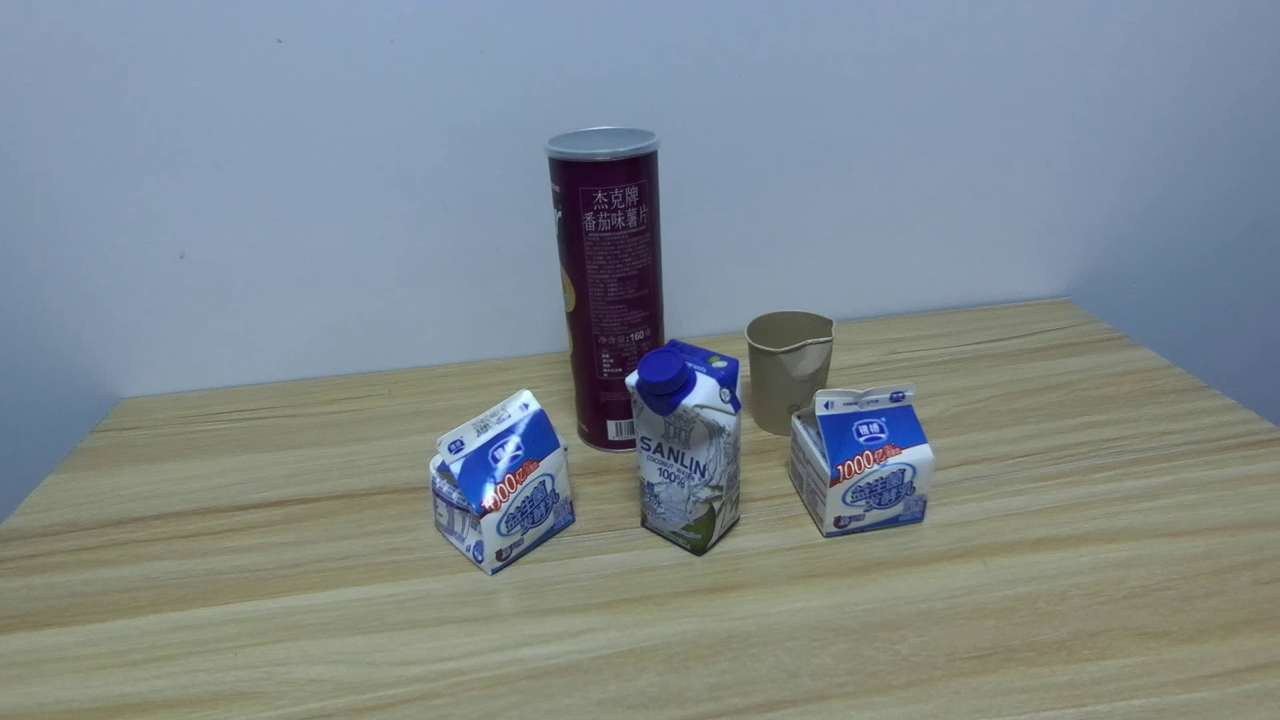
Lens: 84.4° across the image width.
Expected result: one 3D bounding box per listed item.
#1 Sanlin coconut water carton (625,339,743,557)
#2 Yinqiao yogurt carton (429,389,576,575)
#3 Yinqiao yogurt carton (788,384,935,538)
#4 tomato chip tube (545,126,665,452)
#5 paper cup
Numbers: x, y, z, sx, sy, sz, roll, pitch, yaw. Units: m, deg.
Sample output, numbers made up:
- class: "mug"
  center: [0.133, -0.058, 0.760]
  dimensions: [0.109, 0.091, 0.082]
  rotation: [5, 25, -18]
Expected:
- class: "Sanlin coconut water carton"
  center: [0.028, 0.051, 0.446]
  dimensions: [0.077, 0.142, 0.058]
  rotation: [19, 41, 35]
- class: "Yinqiao yogurt carton"
  center: [-0.094, 0.072, 0.473]
  dimensions: [0.083, 0.093, 0.077]
  rotation: [-27, 36, -36]
- class: "Yinqiao yogurt carton"
  center: [0.148, 0.057, 0.474]
  dimensions: [0.076, 0.092, 0.073]
  rotation: [-6, 28, -8]
- class: "tomato chip tube"
  center: [-0.018, -0.046, 0.532]
  dimensions: [0.078, 0.234, 0.078]
  rotation: [-2, 28, 2]
- class: "paper cup"
  center: [0.117, 0.012, 0.561]
  dimensions: [0.068, 0.081, 0.073]
  rotation: [4, 28, 14]
